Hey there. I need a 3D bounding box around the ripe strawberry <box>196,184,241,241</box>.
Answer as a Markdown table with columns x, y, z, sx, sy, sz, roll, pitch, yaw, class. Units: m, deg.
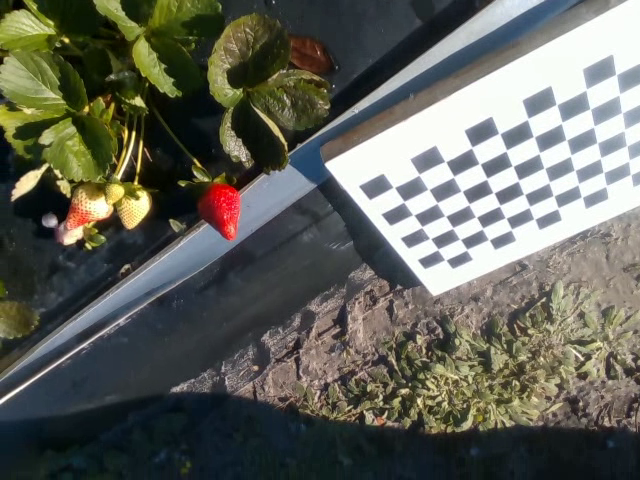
| x | y | z | sx | sy | sz | roll | pitch | yaw | class |
| --- | --- | --- | --- | --- | --- | --- | --- | --- | --- |
| -0.068 | -0.017 | 0.422 | 0.036 | 0.046 | 0.038 | -25 | -23 | 19 | ripe strawberry |
